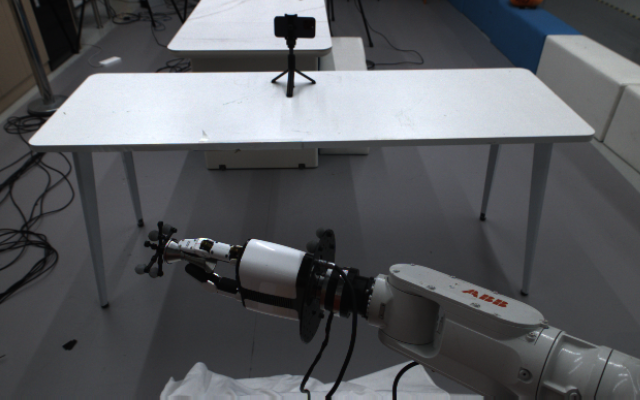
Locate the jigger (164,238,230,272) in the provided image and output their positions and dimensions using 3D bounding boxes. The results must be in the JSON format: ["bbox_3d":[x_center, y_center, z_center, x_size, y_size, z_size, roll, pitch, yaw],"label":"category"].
[{"bbox_3d":[-0.186,0.079,0.720,0.071,0.043,0.043,8,35,12],"label":"jigger"}]
